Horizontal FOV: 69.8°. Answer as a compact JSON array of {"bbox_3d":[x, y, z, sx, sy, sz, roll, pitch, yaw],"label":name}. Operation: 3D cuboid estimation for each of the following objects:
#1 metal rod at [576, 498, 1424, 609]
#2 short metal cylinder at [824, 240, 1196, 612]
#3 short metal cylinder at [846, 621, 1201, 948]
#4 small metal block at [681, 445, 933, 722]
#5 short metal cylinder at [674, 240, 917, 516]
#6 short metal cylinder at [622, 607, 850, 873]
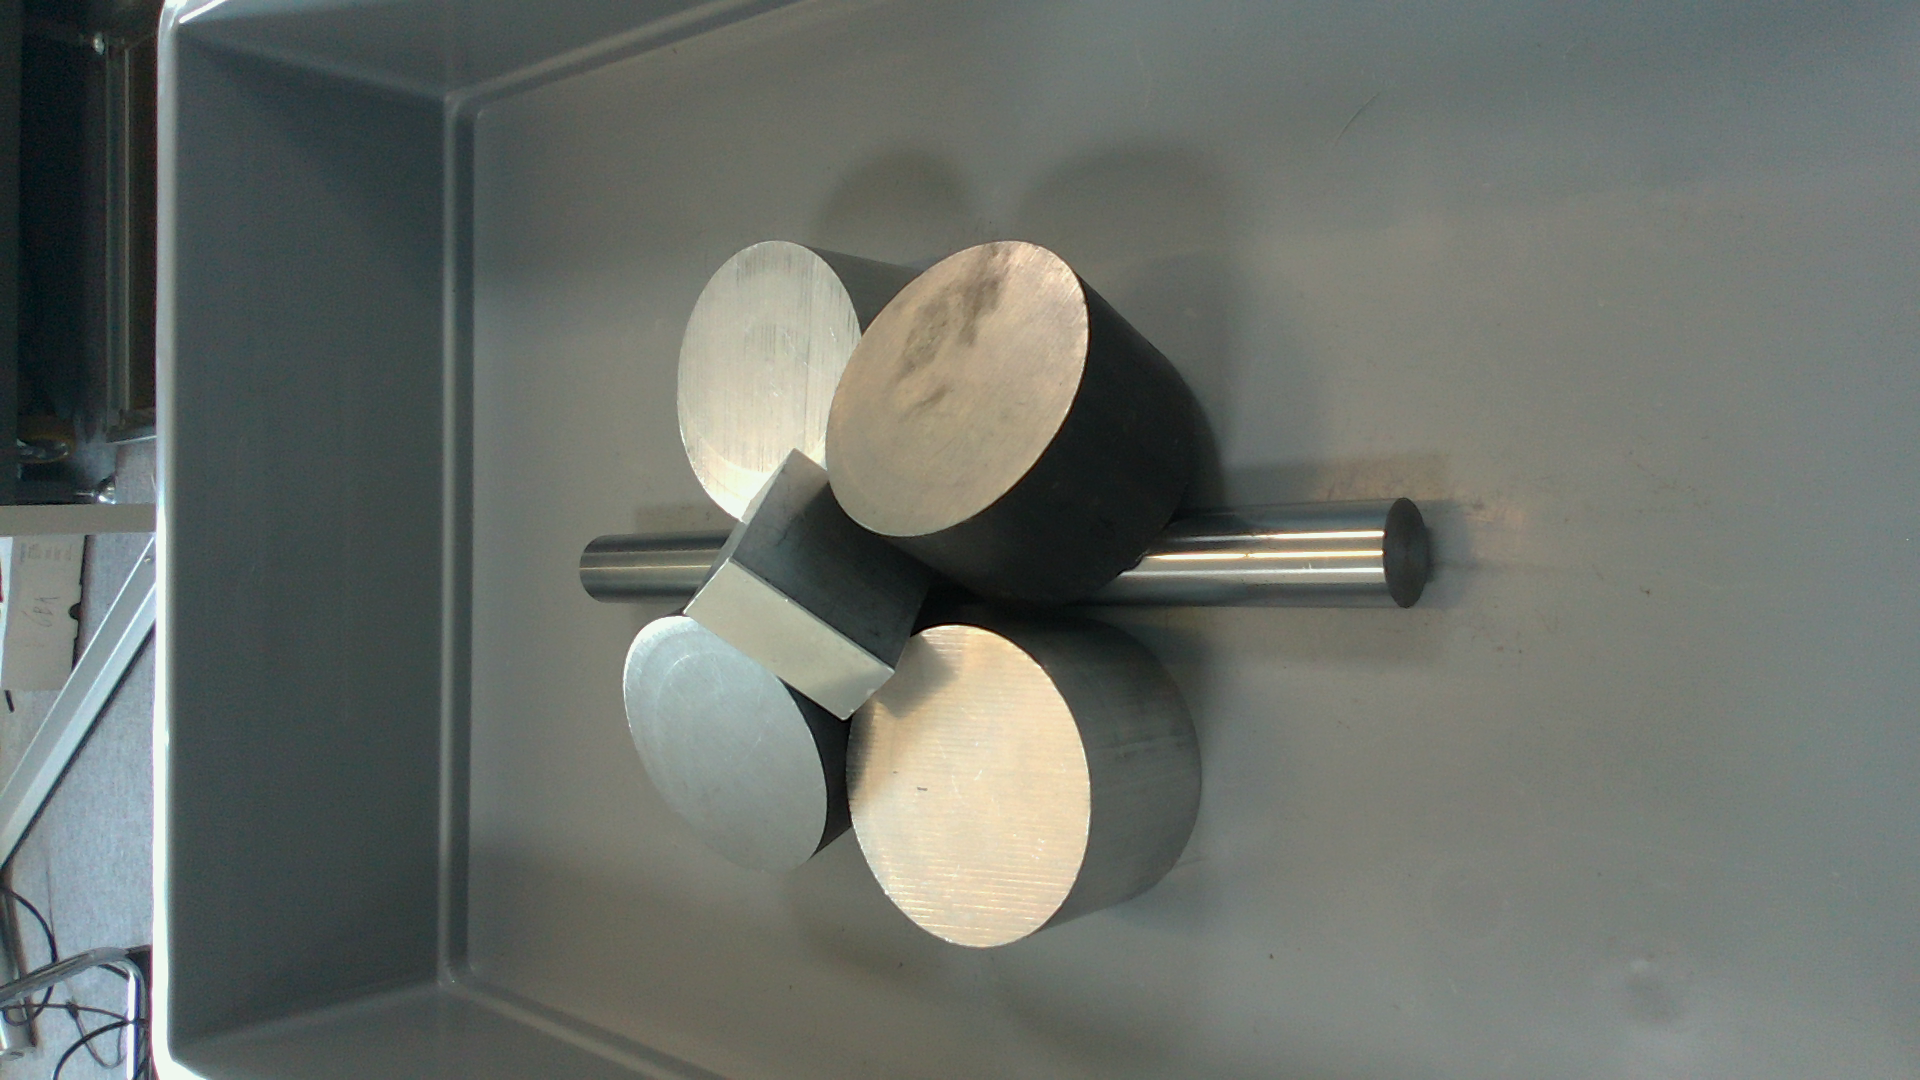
[{"bbox_3d":[-0.015,0.007,0.405,0.299,0.025,0.025,-2,89,40],"label":"metal rod"},{"bbox_3d":[0.012,-0.028,0.349,0.080,0.050,0.080,-20,55,31],"label":"short metal cylinder"},{"bbox_3d":[0.016,0.061,0.363,0.080,0.050,0.080,0,90,40],"label":"short metal cylinder"},{"bbox_3d":[-0.037,0.011,0.362,0.050,0.050,0.025,36,128,-12],"label":"small metal block"},{"bbox_3d":[-0.040,-0.045,0.410,0.080,0.050,0.080,0,90,40],"label":"short metal cylinder"},{"bbox_3d":[-0.053,0.050,0.406,0.080,0.050,0.080,17,120,33],"label":"short metal cylinder"}]
